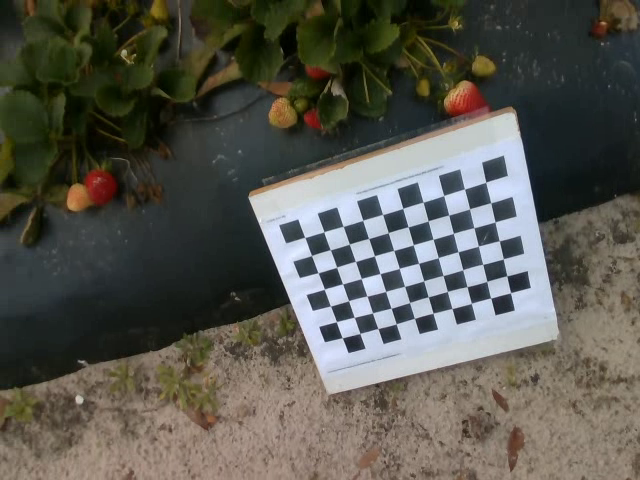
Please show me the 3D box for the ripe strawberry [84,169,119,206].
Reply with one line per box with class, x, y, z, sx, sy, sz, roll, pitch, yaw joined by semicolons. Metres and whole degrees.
ripe strawberry;-0.231;-0.051;0.574;0.034;0.042;0.033;12;-37;-2
